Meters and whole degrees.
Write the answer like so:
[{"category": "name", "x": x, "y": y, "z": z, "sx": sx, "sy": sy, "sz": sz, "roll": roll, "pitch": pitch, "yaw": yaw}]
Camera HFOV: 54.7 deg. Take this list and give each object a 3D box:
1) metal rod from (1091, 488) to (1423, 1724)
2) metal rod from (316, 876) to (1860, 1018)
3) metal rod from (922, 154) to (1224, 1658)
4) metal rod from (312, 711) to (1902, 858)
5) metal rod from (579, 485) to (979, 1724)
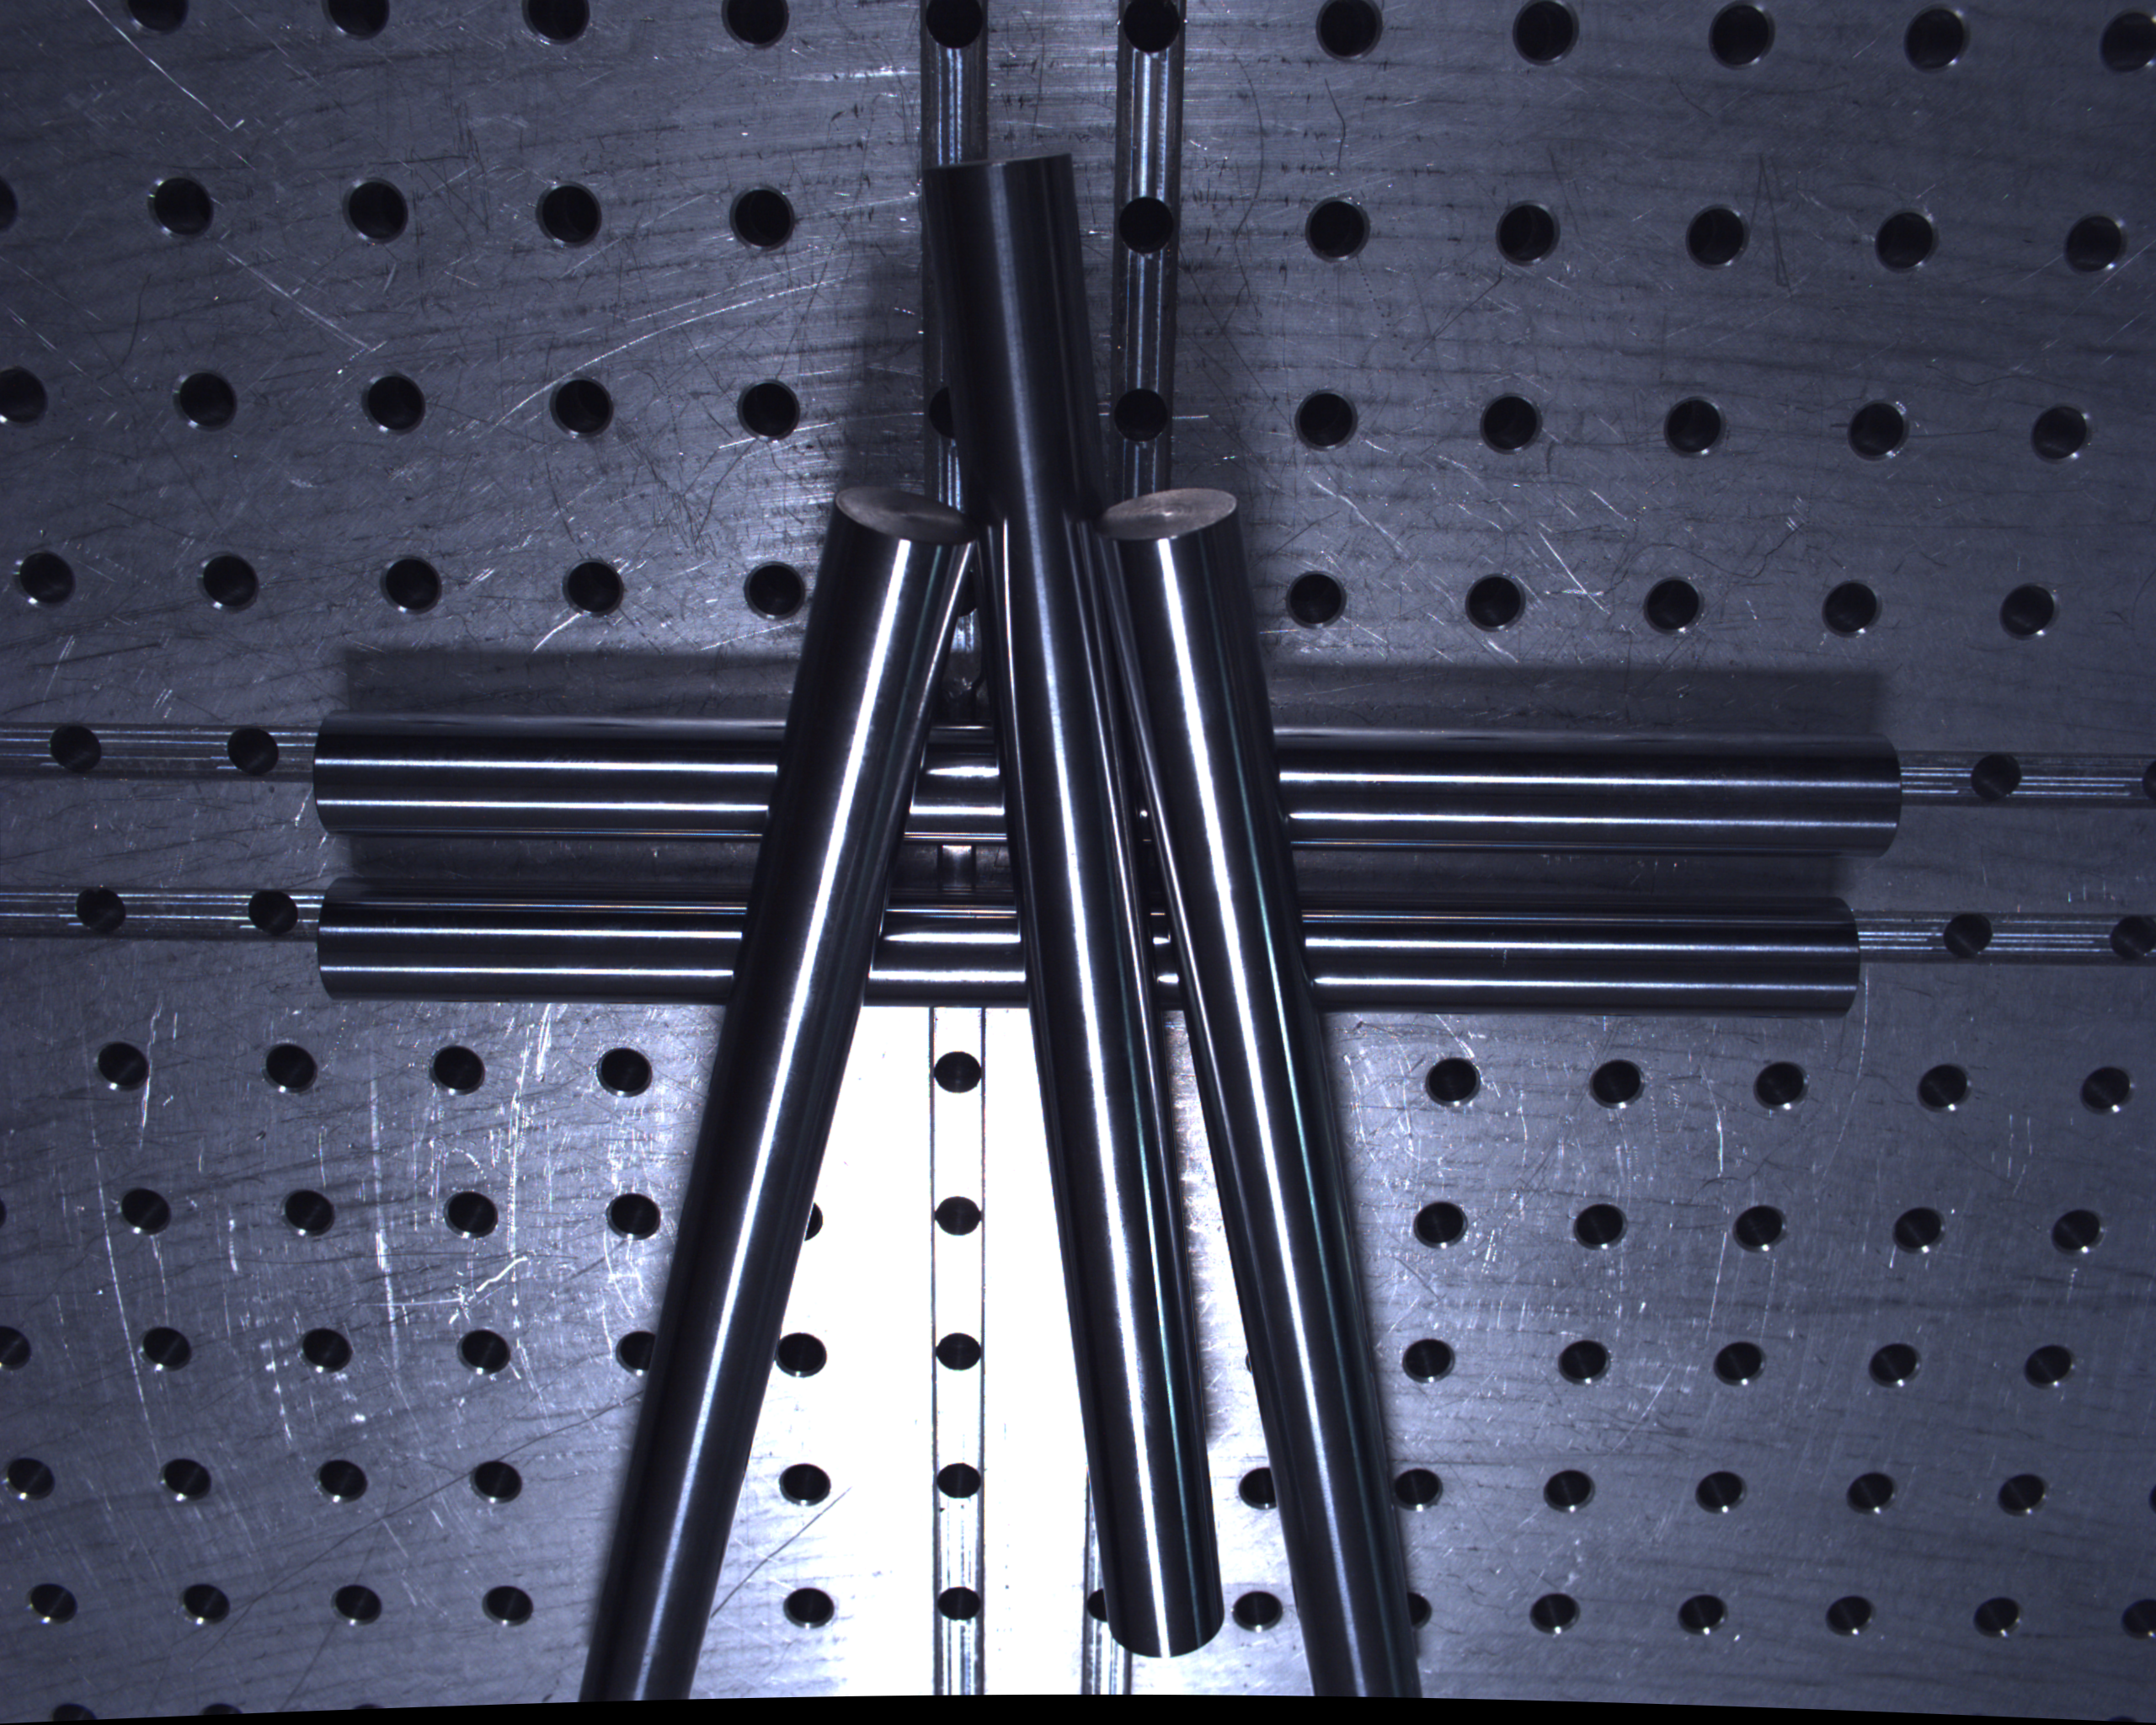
[{"category": "metal rod", "x": 0.041, "y": 0.071, "z": 0.420, "sx": 0.025, "sy": 0.025, "sz": 0.298, "roll": -10, "pitch": 117, "yaw": 3}, {"category": "metal rod", "x": 0.003, "y": 0.017, "z": 0.420, "sx": 0.302, "sy": 0.025, "sz": 0.025, "roll": 1, "pitch": 110, "yaw": -1}, {"category": "metal rod", "x": 0.003, "y": 0.023, "z": 0.396, "sx": 0.025, "sy": 0.025, "sz": 0.298, "roll": -6, "pitch": 110, "yaw": 2}, {"category": "metal rod", "x": 0.007, "y": -0.015, "z": 0.408, "sx": 0.302, "sy": 0.025, "sz": 0.025, "roll": 1, "pitch": 110, "yaw": -1}, {"category": "metal rod", "x": -0.066, "y": 0.069, "z": 0.418, "sx": 0.025, "sy": 0.025, "sz": 0.298, "roll": 13, "pitch": 117, "yaw": -5}]
